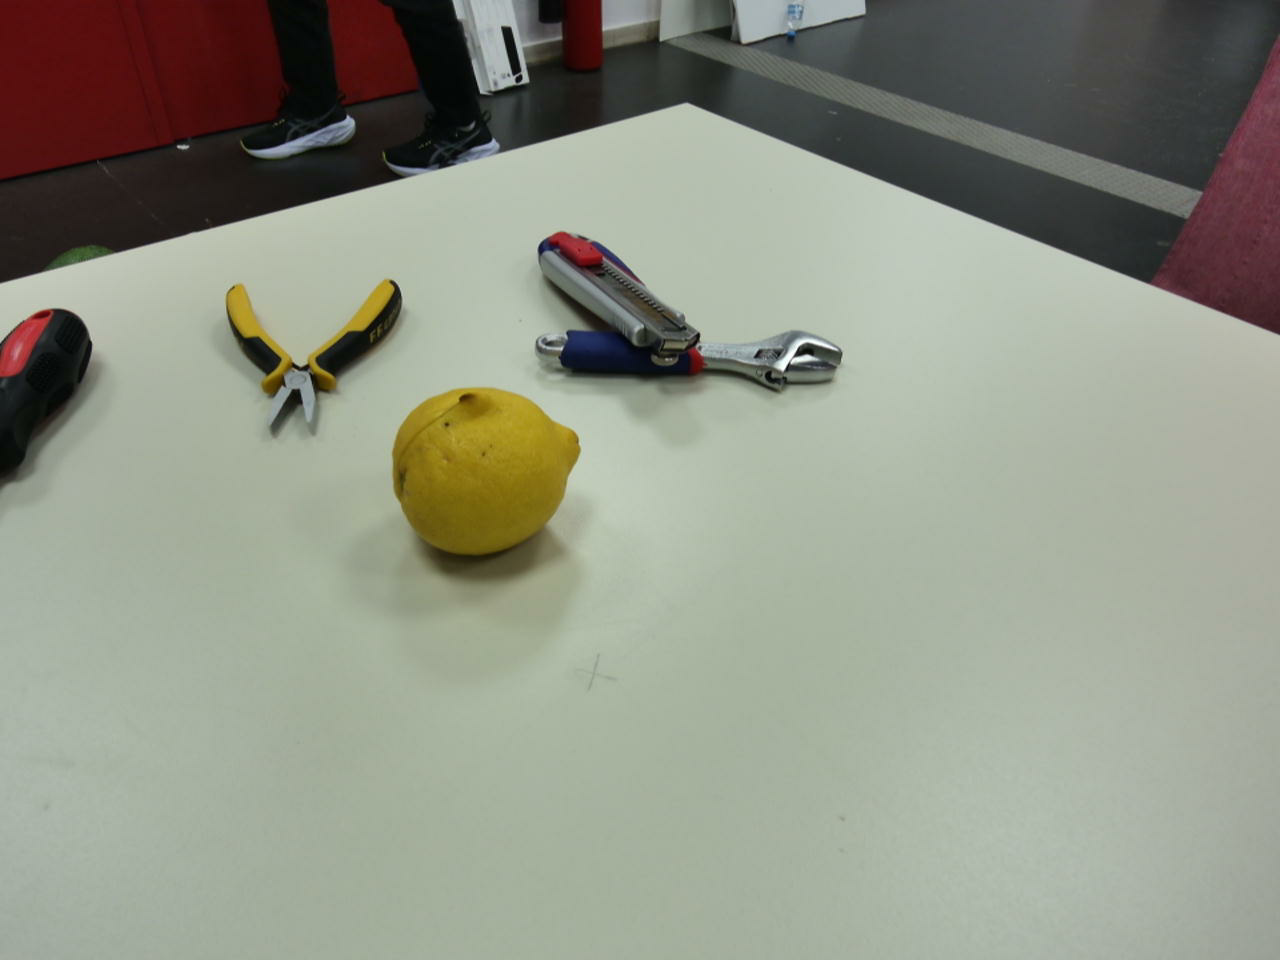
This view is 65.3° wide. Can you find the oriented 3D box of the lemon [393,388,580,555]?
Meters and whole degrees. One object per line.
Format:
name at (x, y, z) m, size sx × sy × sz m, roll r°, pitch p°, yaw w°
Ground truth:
lemon at (-0.066, -0.007, 0.405) m, size 0.071 × 0.071 × 0.070 m, roll 11°, pitch 38°, yaw 13°
